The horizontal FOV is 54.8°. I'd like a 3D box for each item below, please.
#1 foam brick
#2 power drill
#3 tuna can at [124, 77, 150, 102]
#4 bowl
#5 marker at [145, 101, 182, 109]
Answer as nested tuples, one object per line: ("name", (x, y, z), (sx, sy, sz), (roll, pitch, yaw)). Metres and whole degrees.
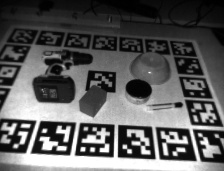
("foam brick", (-0.064, 0.050, 0.663), (0.051, 0.053, 0.078), (23, 51, 12))
("power drill", (-0.176, -0.044, 0.727), (0.185, 0.057, 0.186), (5, 46, -7))
("tuna can", (0.081, 0.014, 0.715), (0.086, 0.034, 0.085), (5, 48, -5))
("bowl", (0.134, -0.080, 0.804), (0.162, 0.055, 0.161), (2, 41, -1))
("marker", (0.165, 0.061, 0.690), (0.121, 0.020, 0.019), (-4, 50, -10))
